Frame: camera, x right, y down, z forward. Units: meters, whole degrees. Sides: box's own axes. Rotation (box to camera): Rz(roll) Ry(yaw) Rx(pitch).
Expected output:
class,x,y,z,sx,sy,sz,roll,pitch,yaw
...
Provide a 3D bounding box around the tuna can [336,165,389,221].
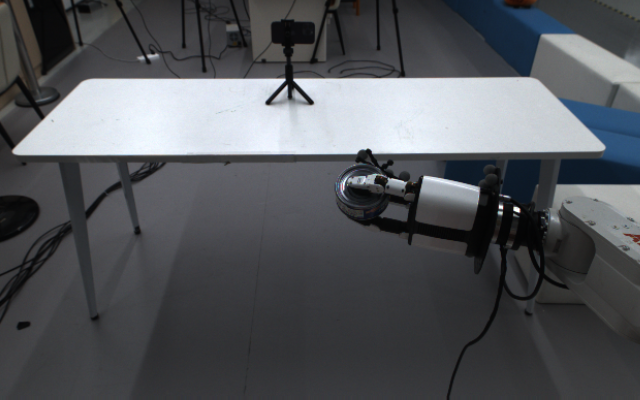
class,x,y,z,sx,sy,sz,roll,pitch,yaw
tuna can,0.069,-0.008,0.748,0.085,0.034,0.085,-4,58,6
